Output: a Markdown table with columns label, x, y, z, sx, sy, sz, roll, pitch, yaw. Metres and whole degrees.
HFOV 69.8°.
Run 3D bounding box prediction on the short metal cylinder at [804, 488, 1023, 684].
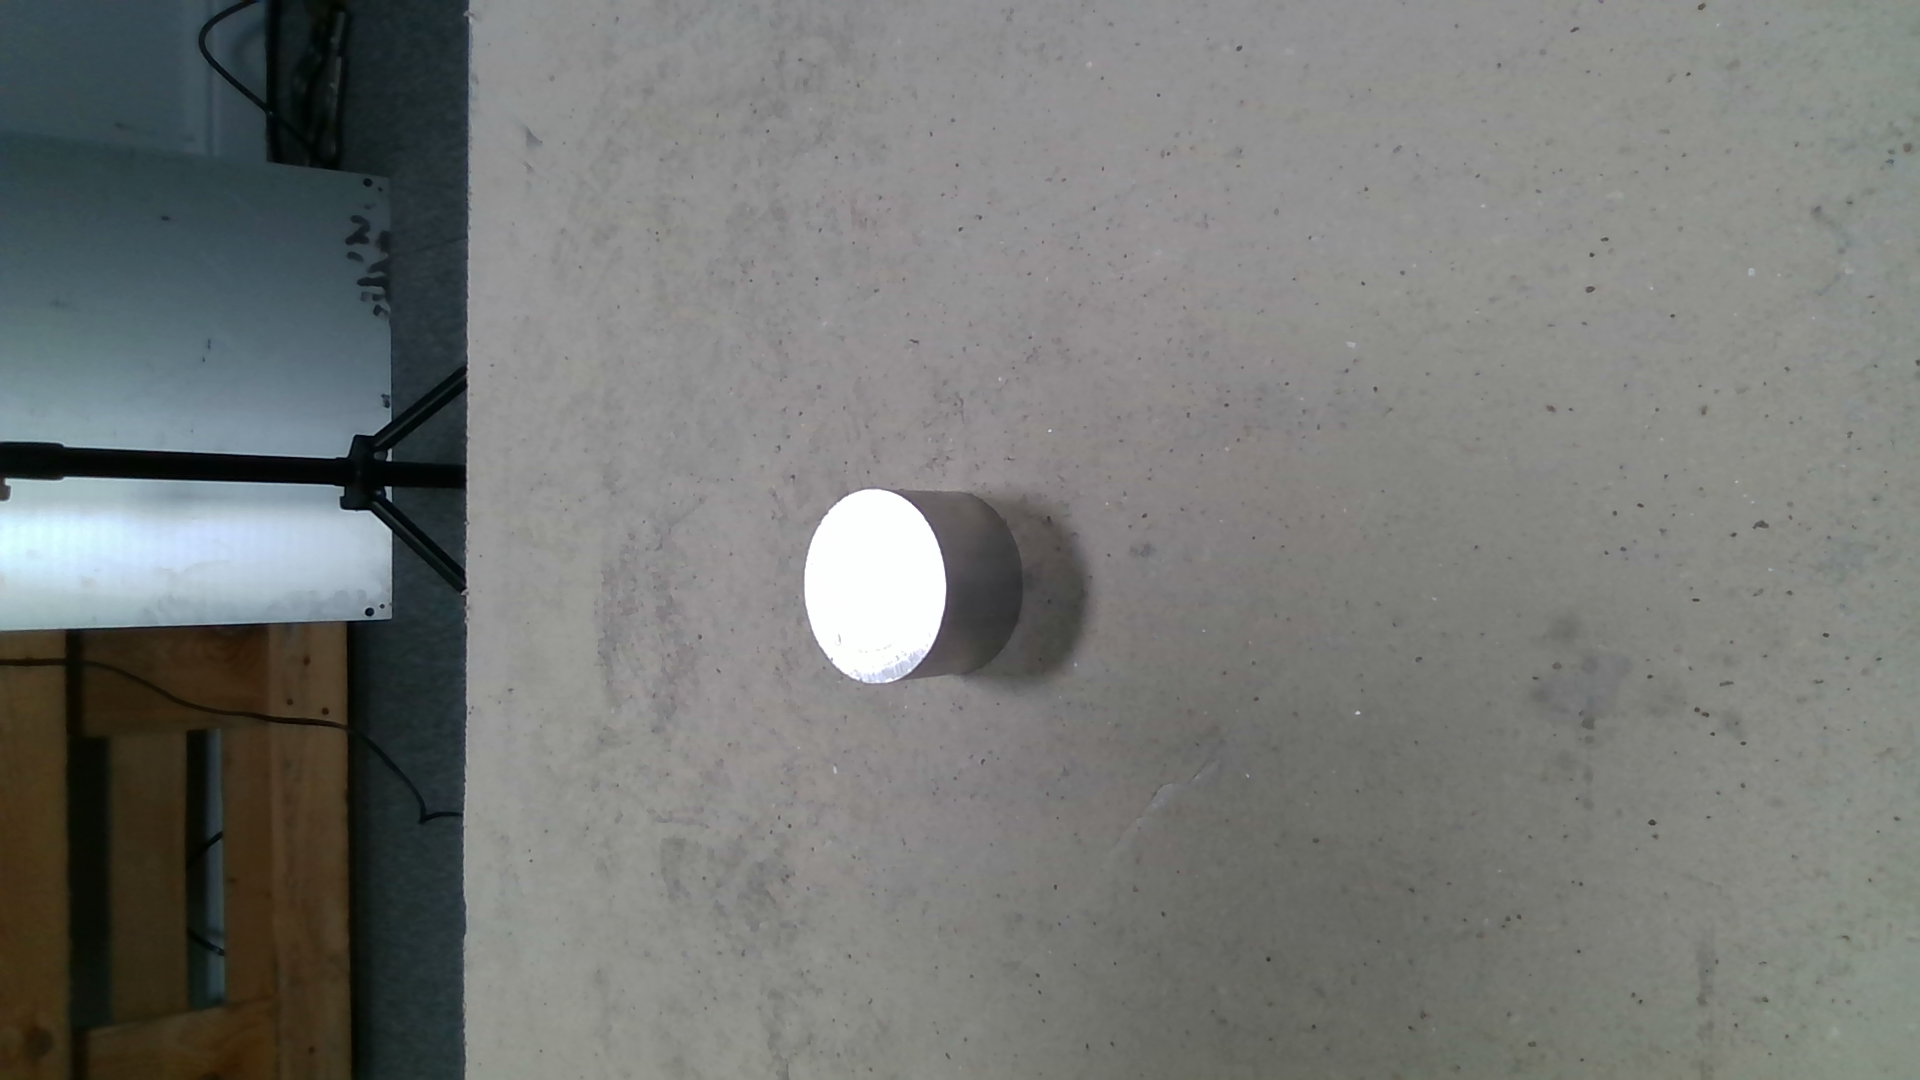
| label | x | y | z | sx | sy | sz | roll | pitch | yaw |
| --- | --- | --- | --- | --- | --- | --- | --- | --- | --- |
| short metal cylinder | -0.020 | 0.019 | 0.583 | 0.080 | 0.050 | 0.080 | 0 | 91 | 40 |
